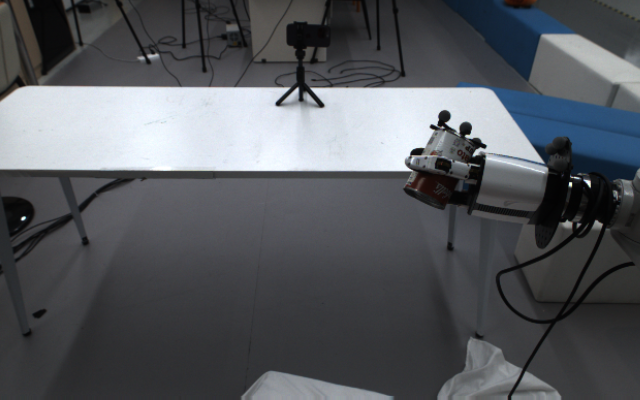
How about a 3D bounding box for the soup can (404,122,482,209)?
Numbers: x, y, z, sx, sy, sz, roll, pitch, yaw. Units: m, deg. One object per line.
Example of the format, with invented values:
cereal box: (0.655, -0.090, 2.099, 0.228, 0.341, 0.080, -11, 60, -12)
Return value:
soup can: (0.176, -0.046, 0.711, 0.067, 0.101, 0.067, 29, -2, 1)
